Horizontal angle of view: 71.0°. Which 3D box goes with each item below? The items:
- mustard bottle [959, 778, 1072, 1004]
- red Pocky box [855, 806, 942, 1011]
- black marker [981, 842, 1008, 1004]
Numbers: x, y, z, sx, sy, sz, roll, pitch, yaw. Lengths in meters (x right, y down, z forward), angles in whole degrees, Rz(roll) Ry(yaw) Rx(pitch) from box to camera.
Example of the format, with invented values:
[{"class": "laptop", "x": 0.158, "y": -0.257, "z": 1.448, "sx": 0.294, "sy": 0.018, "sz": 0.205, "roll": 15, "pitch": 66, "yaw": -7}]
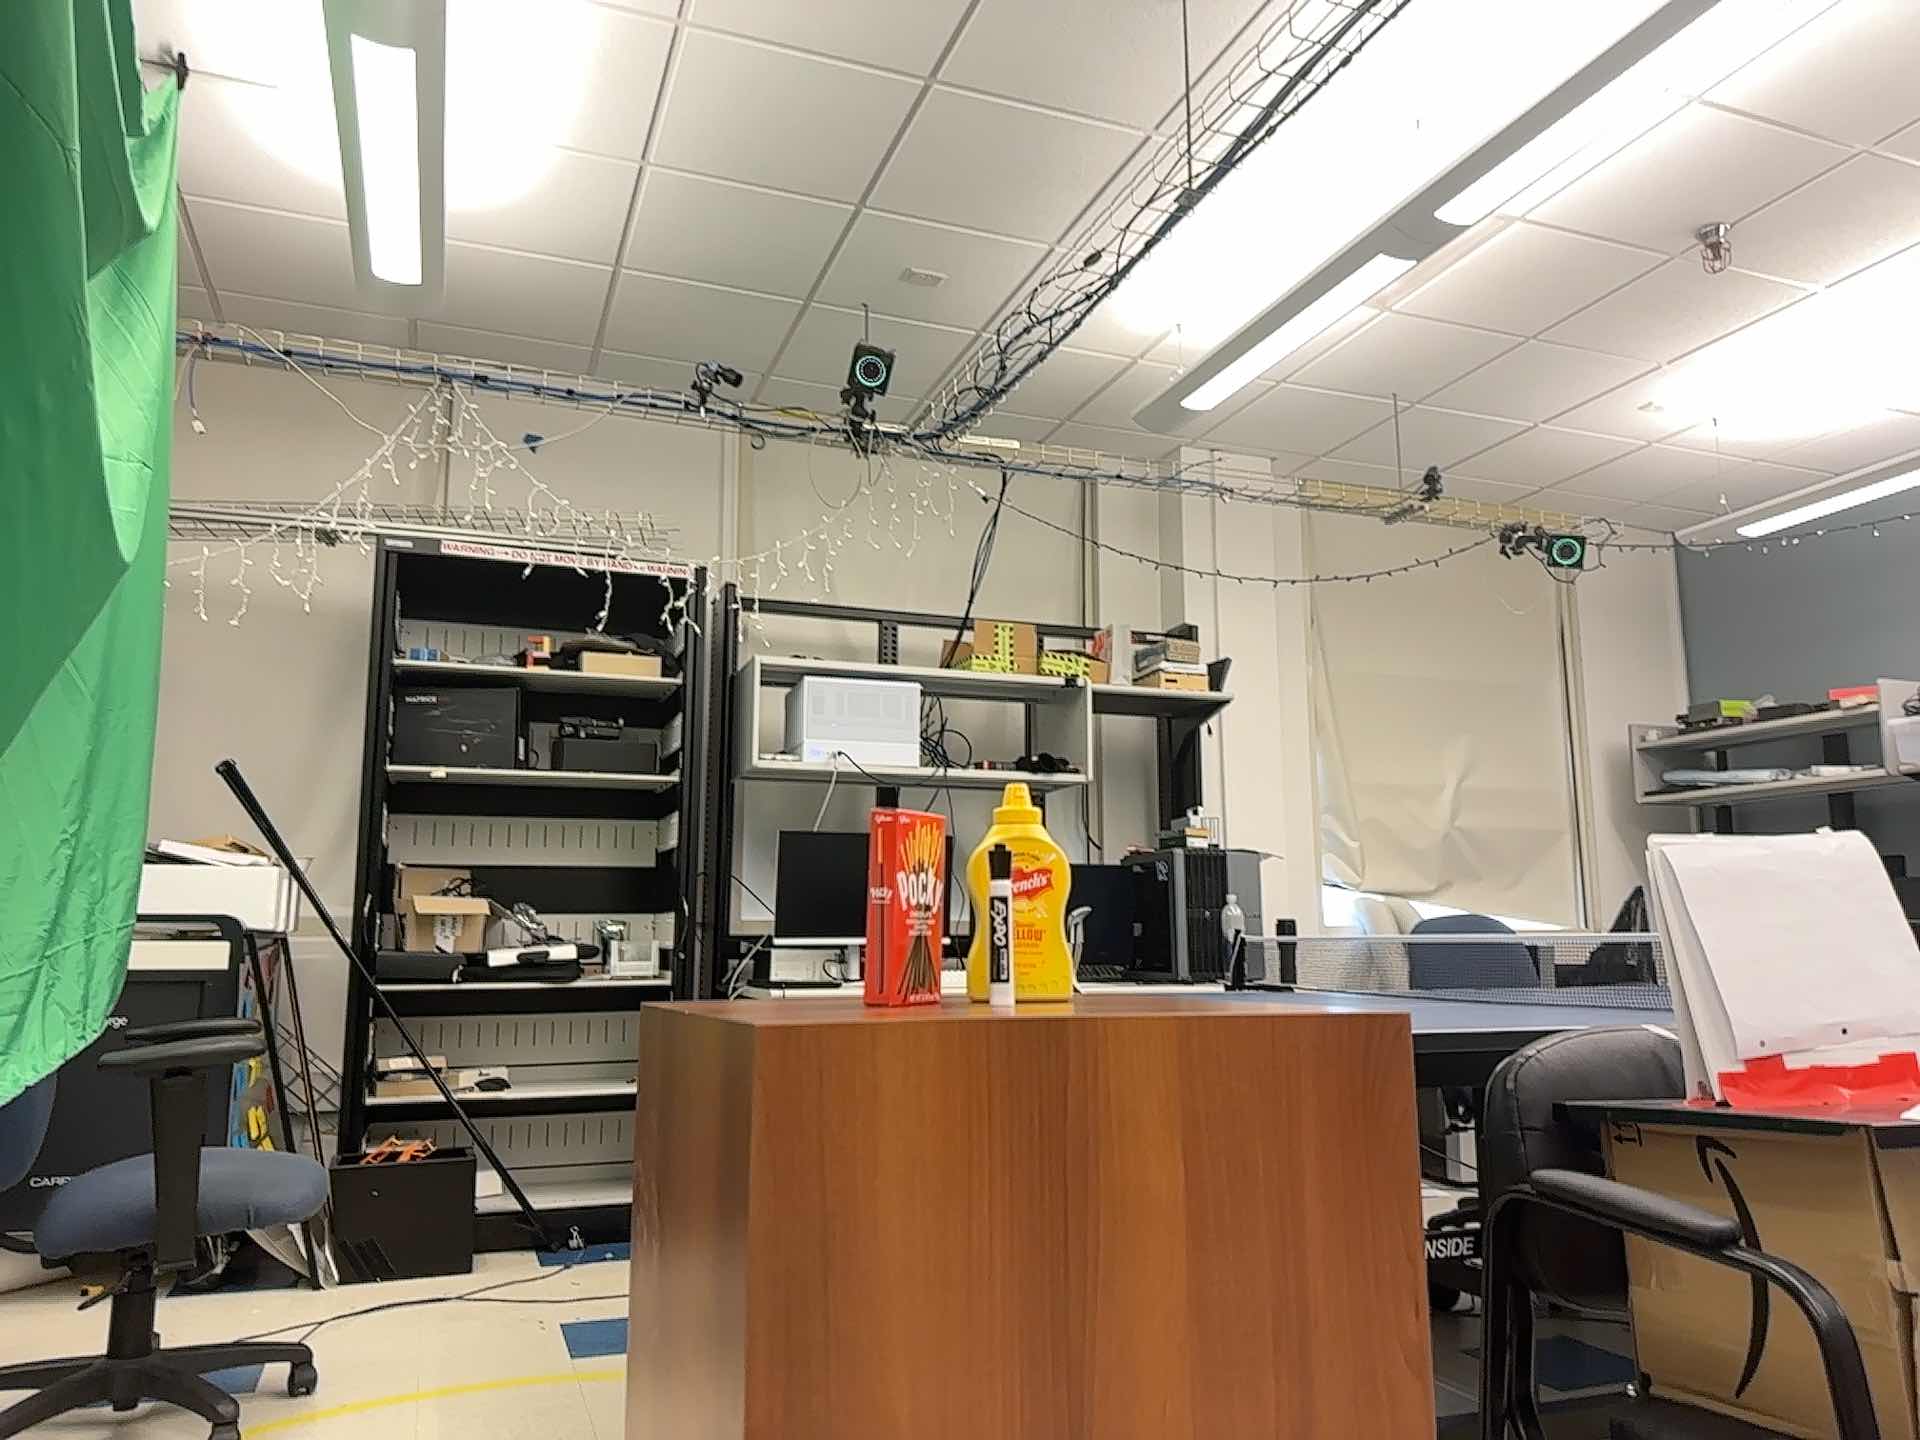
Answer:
[{"class": "mustard bottle", "x": 0.044, "y": 0.140, "z": 1.114, "sx": 0.092, "sy": 0.184, "sz": 0.054, "roll": 0, "pitch": -7, "yaw": -1}, {"class": "red Pocky box", "x": -0.047, "y": 0.146, "z": 1.049, "sx": 0.028, "sy": 0.155, "sz": 0.083, "roll": -4, "pitch": -8, "yaw": 33}, {"class": "black marker", "x": 0.026, "y": 0.153, "z": 1.019, "sx": 0.020, "sy": 0.121, "sz": 0.020, "roll": 0, "pitch": -12, "yaw": 0}]
